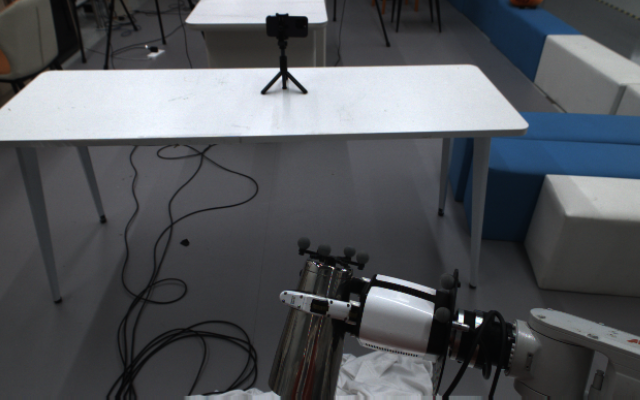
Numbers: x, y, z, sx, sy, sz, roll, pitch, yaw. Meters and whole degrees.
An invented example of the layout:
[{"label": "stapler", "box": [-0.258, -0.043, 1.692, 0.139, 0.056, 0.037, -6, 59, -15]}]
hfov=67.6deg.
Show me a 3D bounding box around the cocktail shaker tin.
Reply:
[{"label": "cocktail shaker tin", "box": [-0.002, 0.165, 0.640, 0.093, 0.170, 0.093, 13, 0, 0]}]
